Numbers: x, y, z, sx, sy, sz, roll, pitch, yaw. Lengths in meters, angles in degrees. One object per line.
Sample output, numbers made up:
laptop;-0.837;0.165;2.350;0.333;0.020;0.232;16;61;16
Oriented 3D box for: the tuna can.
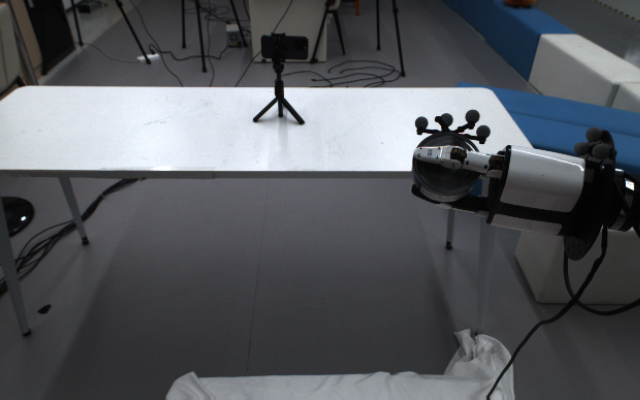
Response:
tuna can;0.162;-0.045;0.621;0.085;0.034;0.085;-2;70;7
